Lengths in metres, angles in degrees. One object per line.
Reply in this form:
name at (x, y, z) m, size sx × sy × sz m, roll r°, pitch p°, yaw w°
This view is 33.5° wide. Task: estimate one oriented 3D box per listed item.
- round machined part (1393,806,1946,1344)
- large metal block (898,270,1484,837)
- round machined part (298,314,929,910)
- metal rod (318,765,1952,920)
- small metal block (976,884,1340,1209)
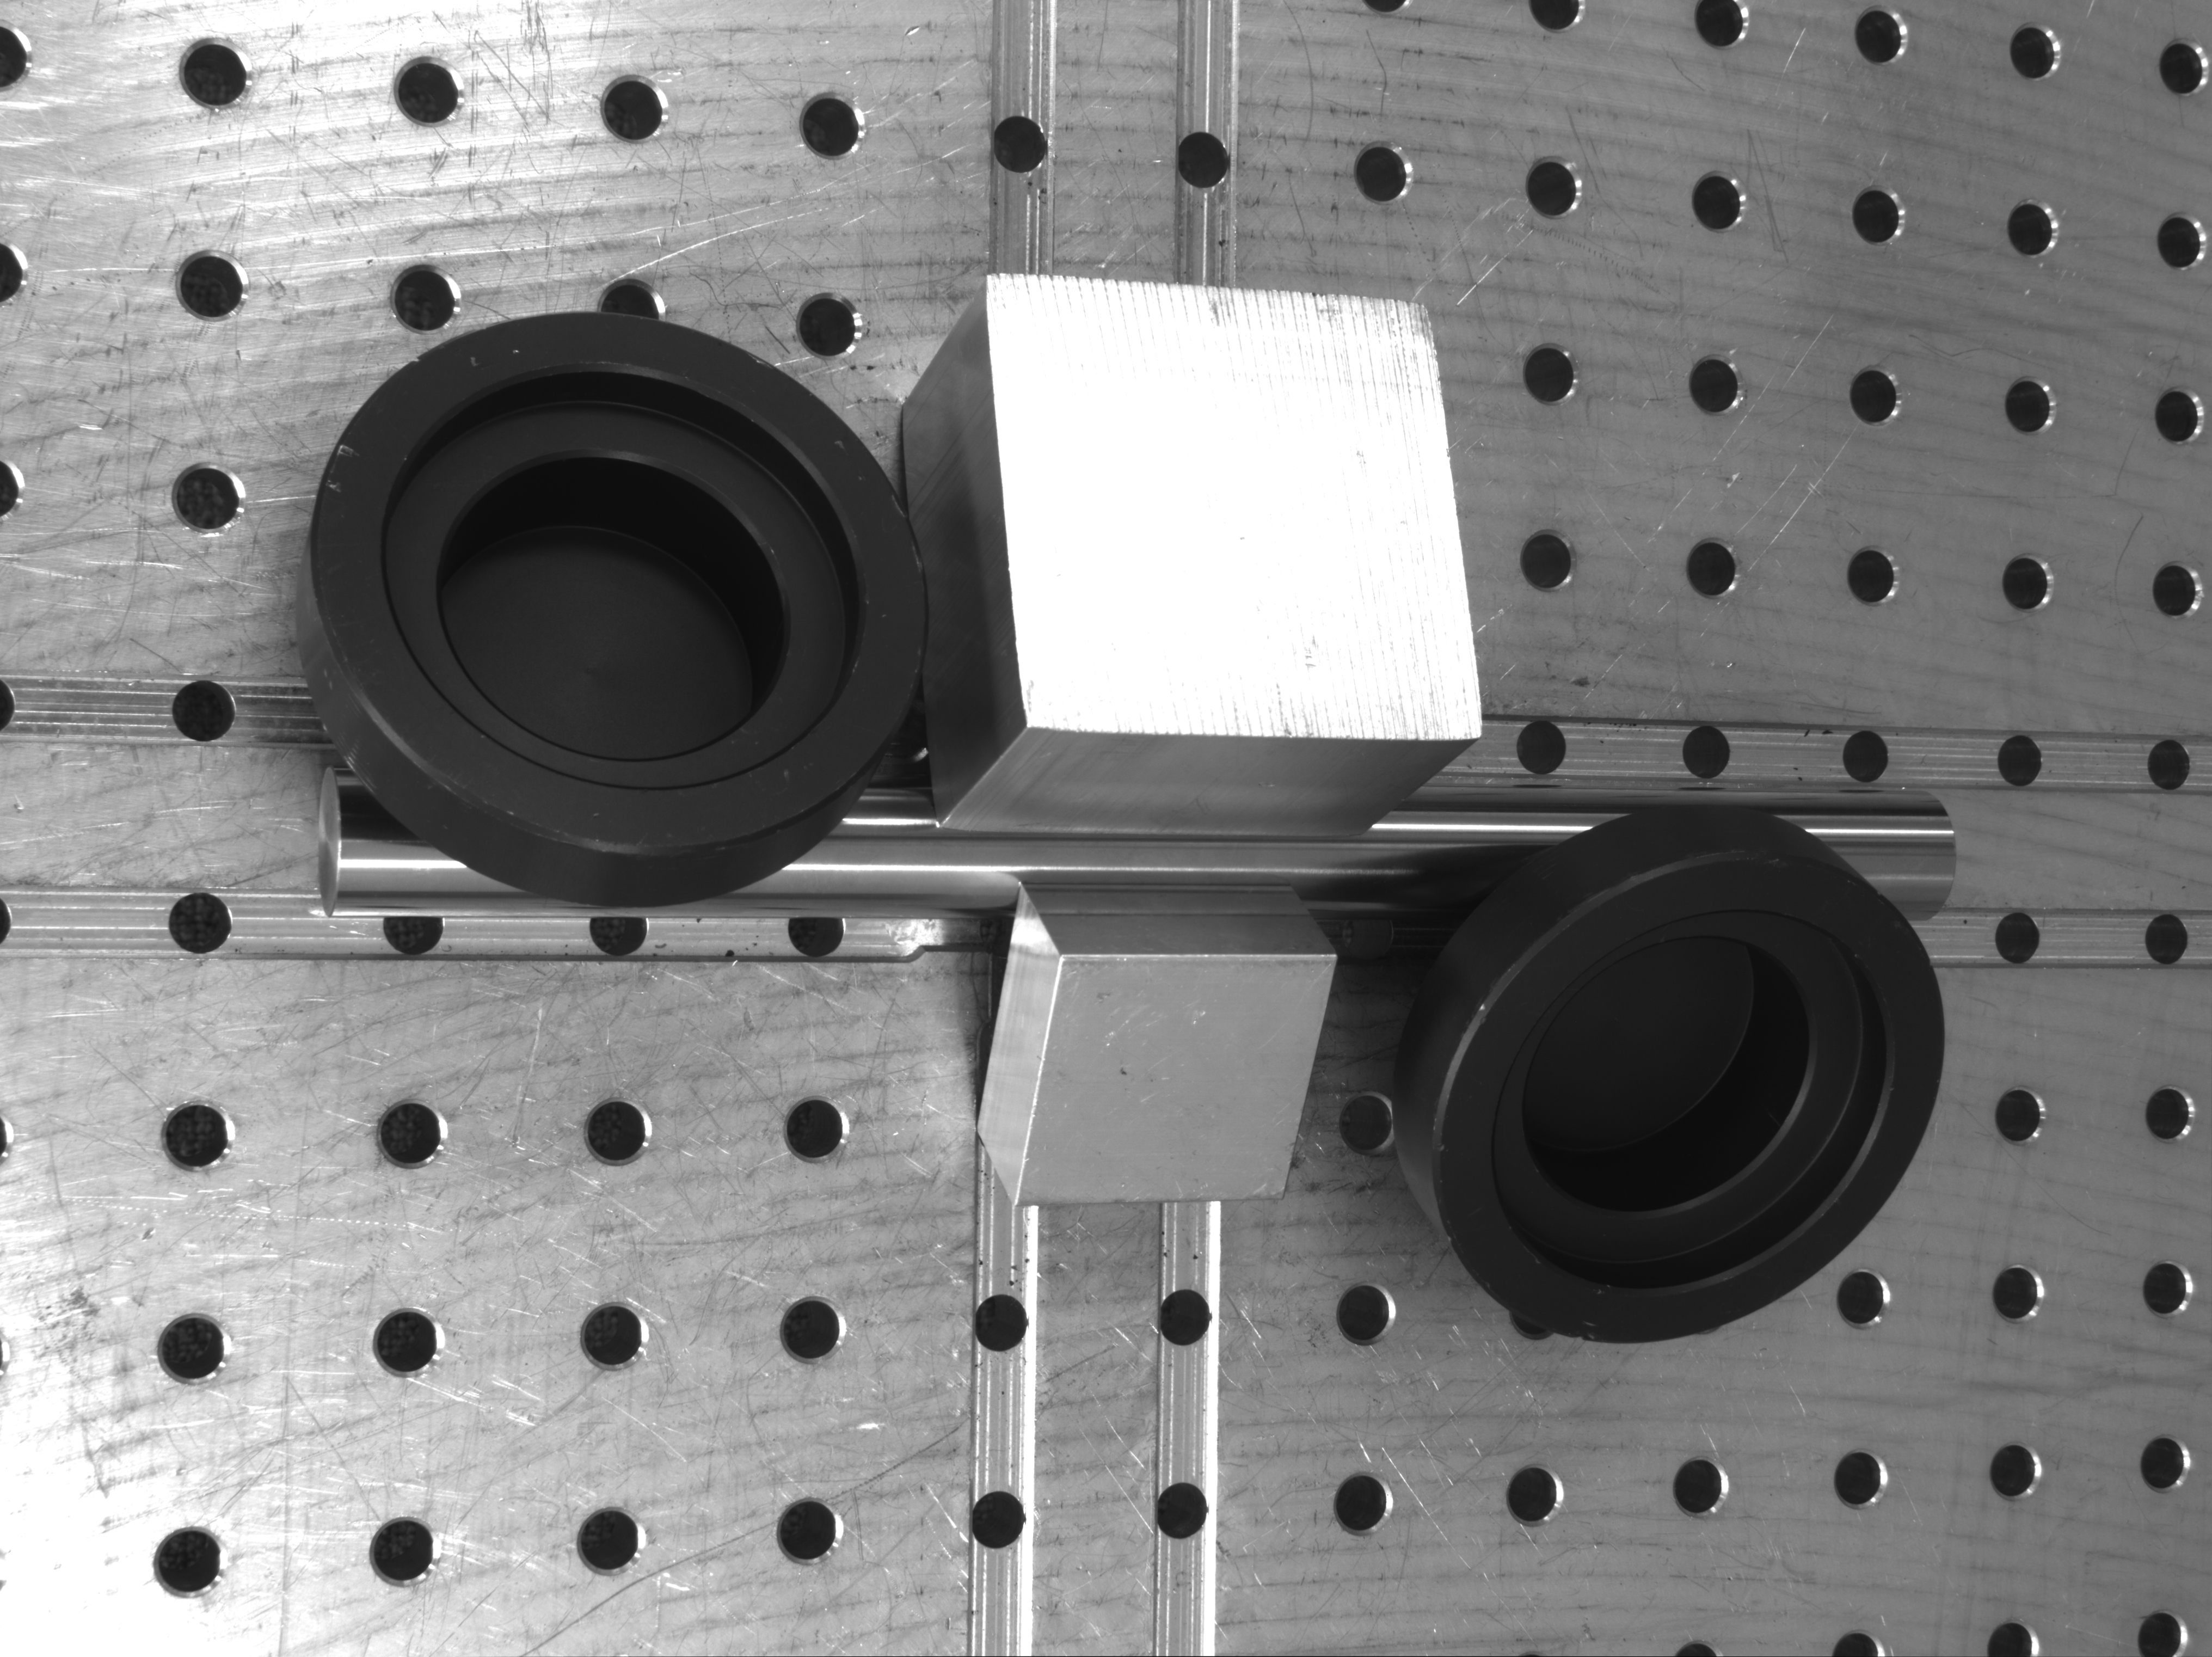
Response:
round machined part at (0.097, 0.040, 0.659) m, size 0.098 × 0.042 × 0.098 m, roll -8°, pitch 118°, yaw -16°
large metal block at (0.013, -0.045, 0.625) m, size 0.080 × 0.050 × 0.080 m, roll 1°, pitch 71°, yaw -20°
round machined part at (-0.081, -0.031, 0.594) m, size 0.098 × 0.042 × 0.098 m, roll 9°, pitch 61°, yaw -16°
metal rod at (0.014, 0.004, 0.652) m, size 0.301 × 0.025 × 0.025 m, roll 1°, pitch 90°, yaw -20°
small metal block at (0.008, 0.038, 0.639) m, size 0.050 × 0.025 × 0.050 m, roll 1°, pitch 118°, yaw -20°
